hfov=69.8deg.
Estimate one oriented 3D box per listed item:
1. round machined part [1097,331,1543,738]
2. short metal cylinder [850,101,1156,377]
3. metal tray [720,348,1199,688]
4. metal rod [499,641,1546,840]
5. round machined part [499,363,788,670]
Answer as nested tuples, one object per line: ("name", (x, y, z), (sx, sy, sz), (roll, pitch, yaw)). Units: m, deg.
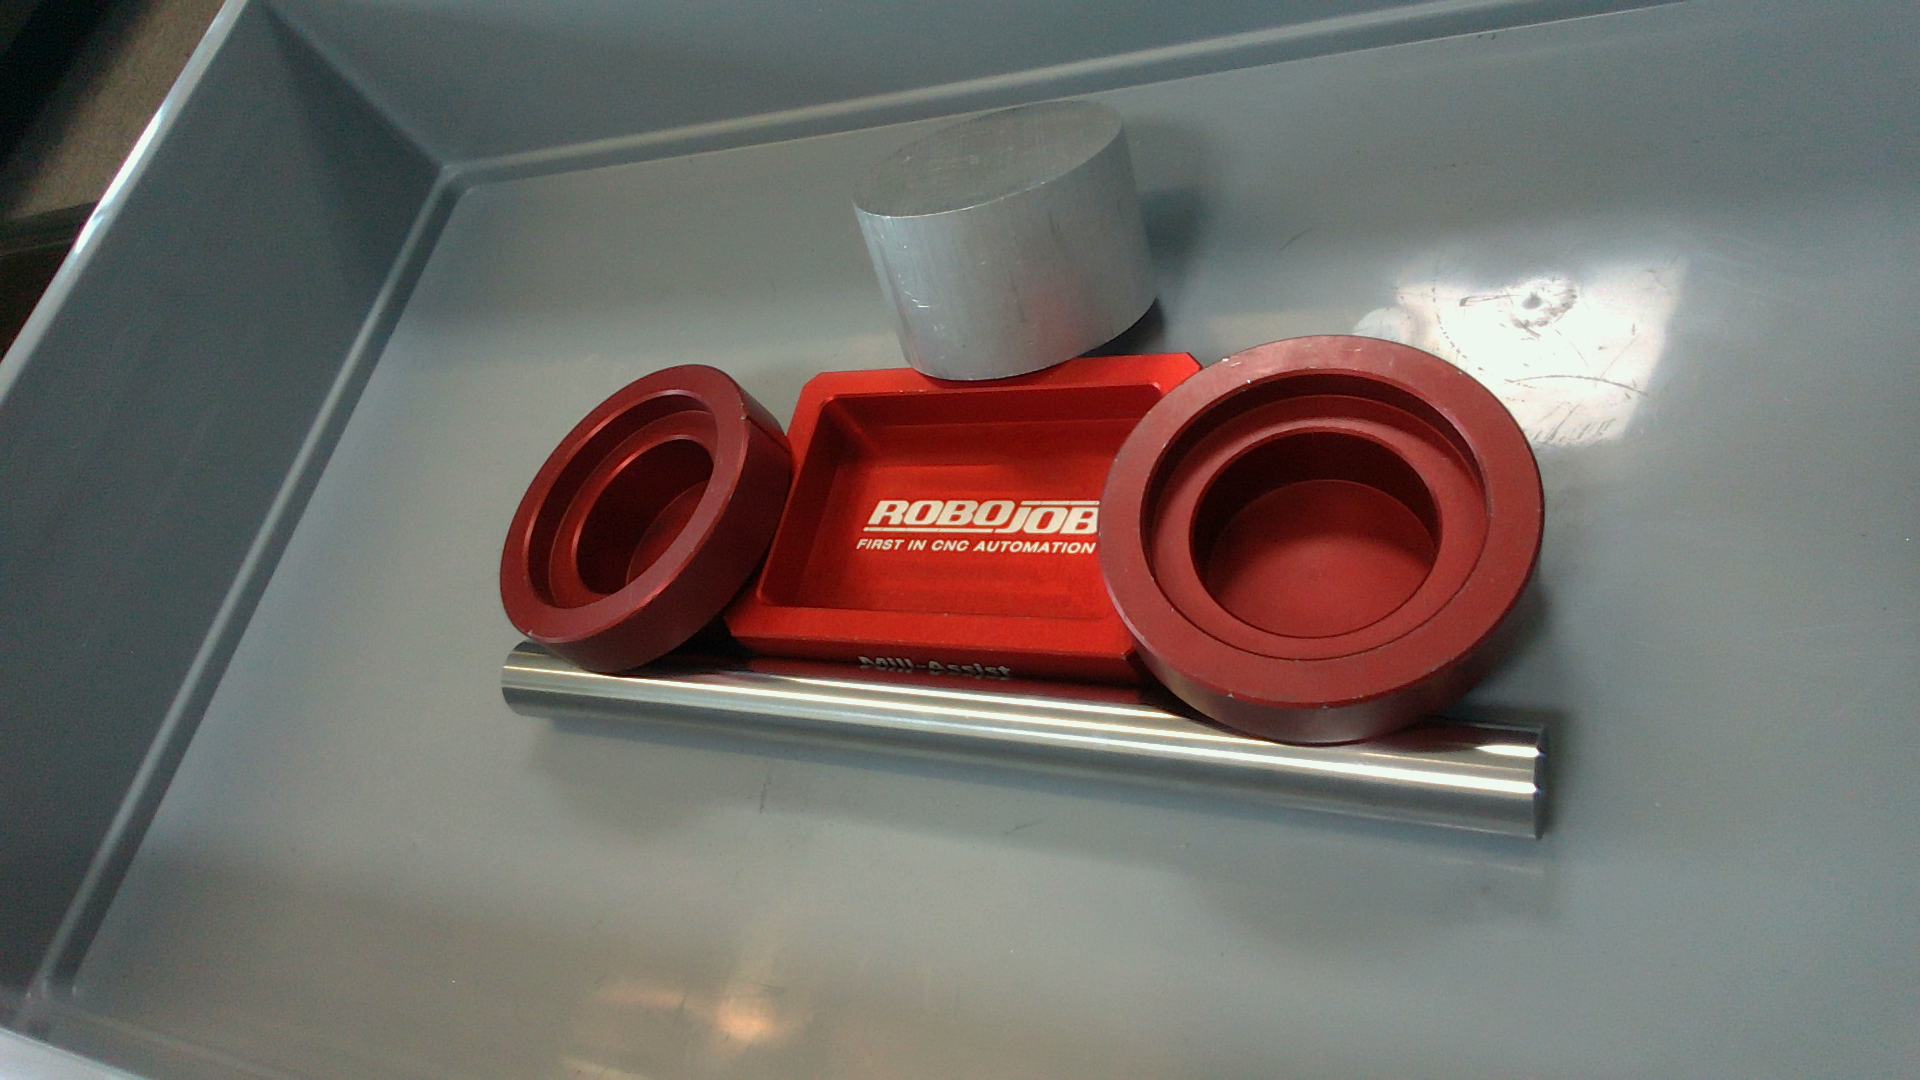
("round machined part", (0.085, 0.002, 0.328), (0.098, 0.042, 0.098), (-9, 57, 15))
("short metal cylinder", (0.014, -0.090, 0.405), (0.080, 0.050, 0.080), (-14, 31, 8))
("metal tray", (0.004, -0.006, 0.390), (0.130, 0.030, 0.090), (1, 63, 28))
("metal rod", (-0.007, 0.048, 0.366), (0.299, 0.025, 0.025), (2, 62, 29))
("round machined part", (-0.092, -0.003, 0.427), (0.098, 0.042, 0.098), (-20, 48, 25))
